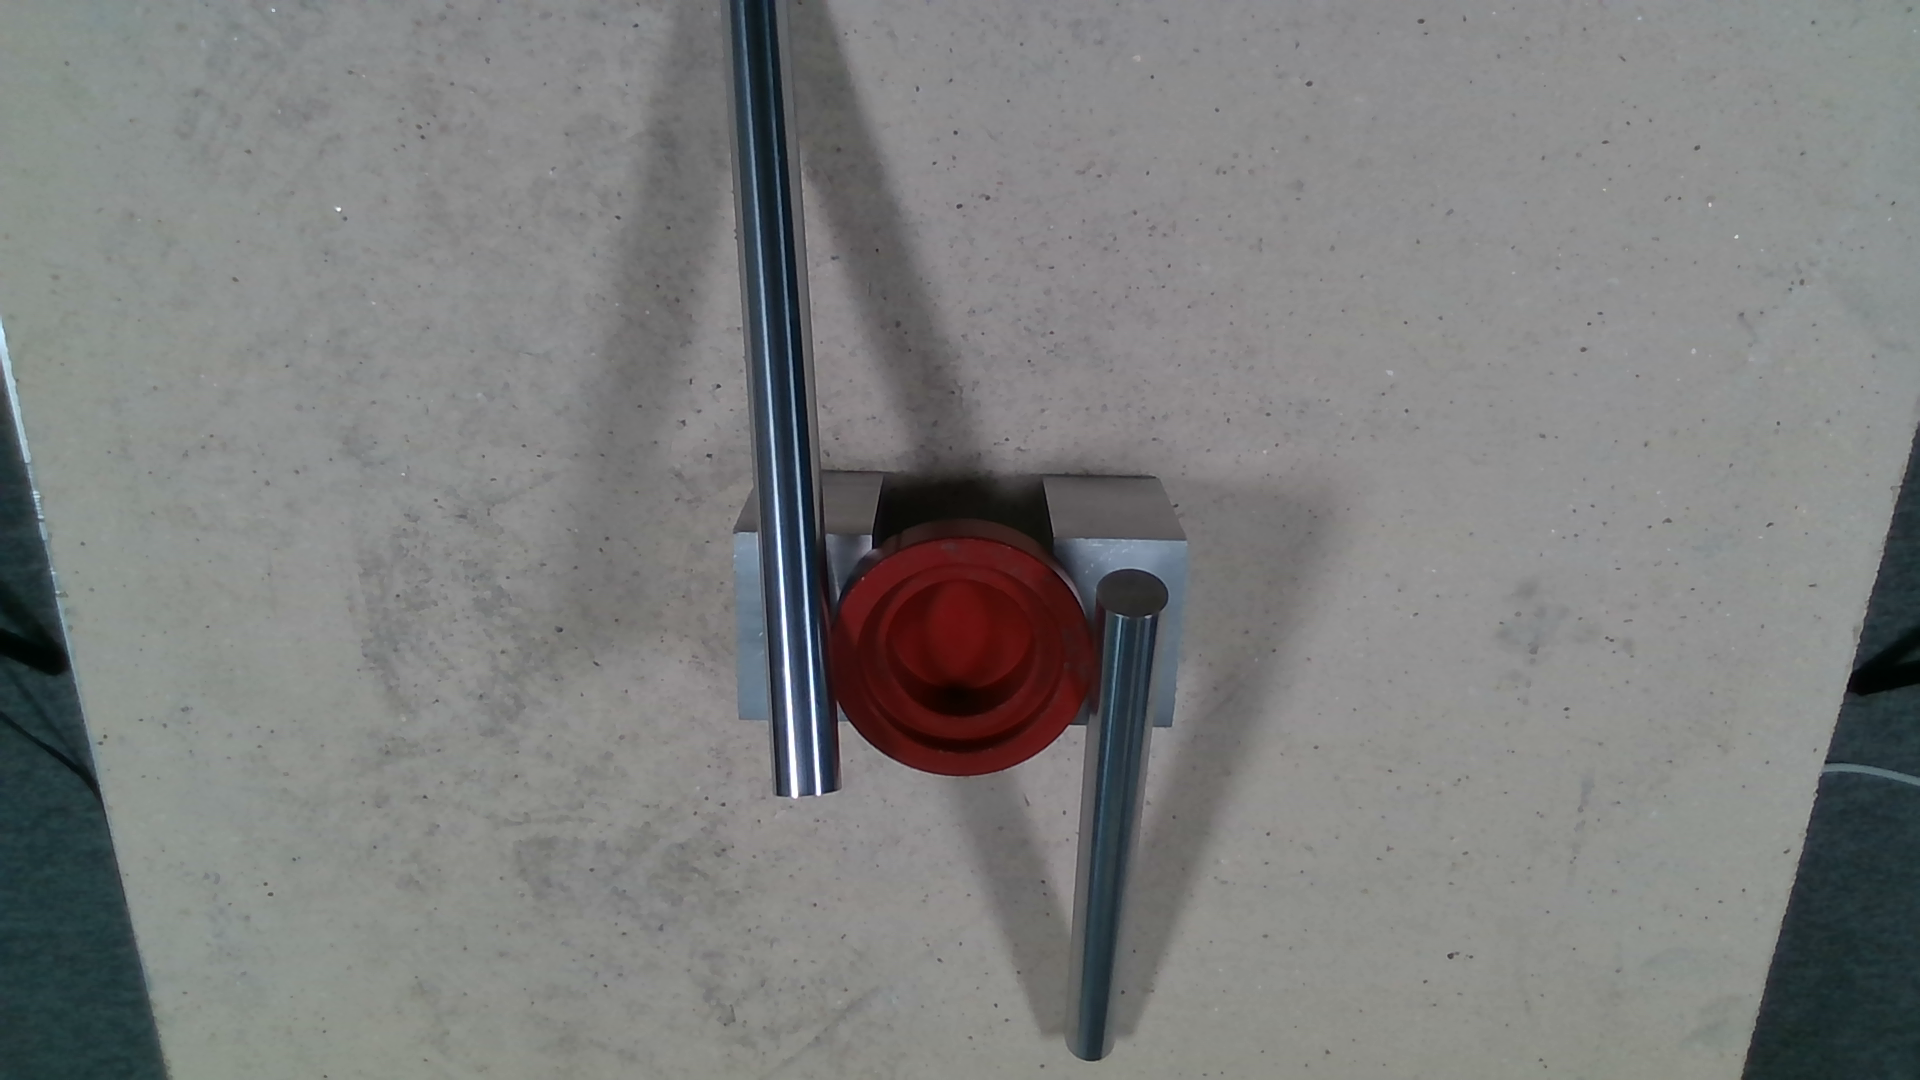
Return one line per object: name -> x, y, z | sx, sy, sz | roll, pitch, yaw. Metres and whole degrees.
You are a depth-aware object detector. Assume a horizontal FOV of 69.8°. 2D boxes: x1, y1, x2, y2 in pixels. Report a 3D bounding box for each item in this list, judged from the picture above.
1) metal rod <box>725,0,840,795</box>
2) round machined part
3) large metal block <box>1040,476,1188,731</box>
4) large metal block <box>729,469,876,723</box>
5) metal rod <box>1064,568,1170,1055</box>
metal rod -> -0.065, -0.059, 0.504 | 0.025, 0.025, 0.300 | -4, 87, 1
round machined part -> 0.000, 0.037, 0.527 | 0.098, 0.042, 0.098 | 0, 110, 0
large metal block -> 0.059, 0.023, 0.564 | 0.050, 0.080, 0.080 | 1, 110, 0
large metal block -> -0.061, 0.021, 0.563 | 0.050, 0.080, 0.080 | 1, 110, 0
metal rod -> 0.062, 0.130, 0.576 | 0.025, 0.025, 0.301 | -1, 132, 0
